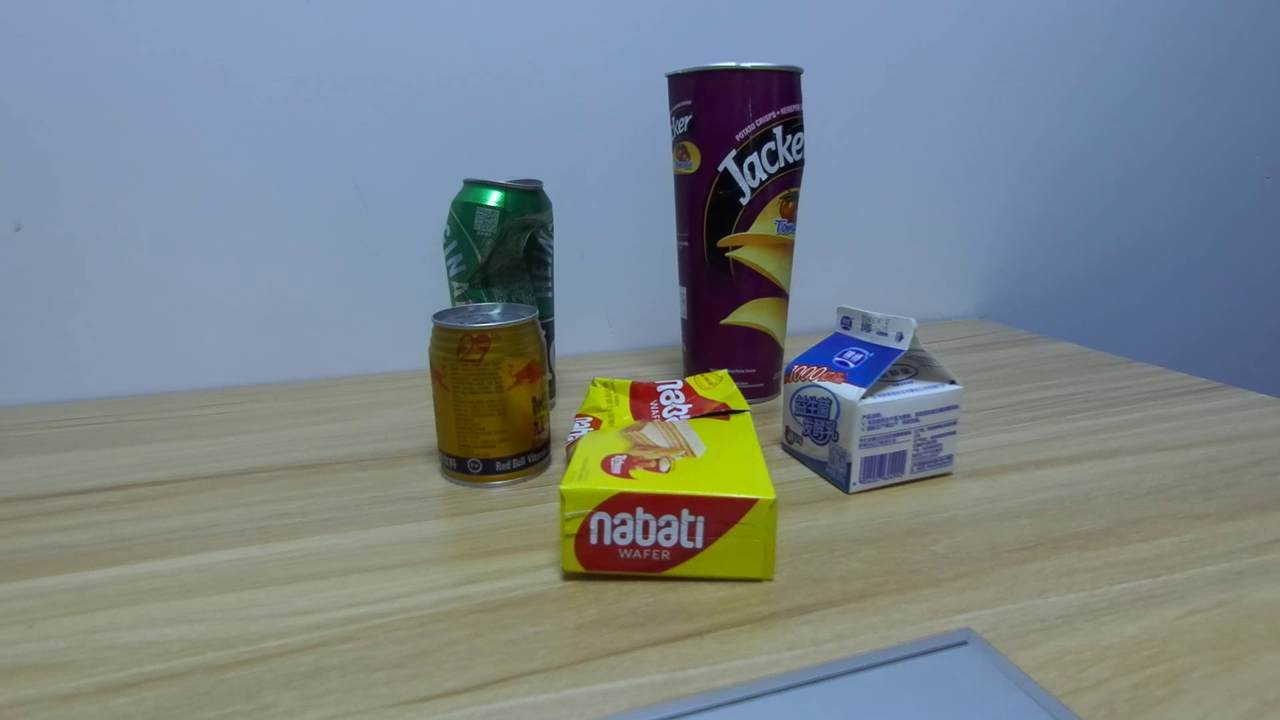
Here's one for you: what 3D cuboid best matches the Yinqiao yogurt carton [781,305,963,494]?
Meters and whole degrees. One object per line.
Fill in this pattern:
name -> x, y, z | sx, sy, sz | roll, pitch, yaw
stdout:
Yinqiao yogurt carton -> 0.131, 0.016, 0.406 | 0.074, 0.092, 0.075 | -7, 16, -20

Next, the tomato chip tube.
tomato chip tube -> 0.070, -0.089, 0.523 | 0.076, 0.235, 0.077 | -11, 17, -32

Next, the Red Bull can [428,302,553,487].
Red Bull can -> -0.086, 0.018, 0.410 | 0.067, 0.093, 0.067 | 0, 17, 0

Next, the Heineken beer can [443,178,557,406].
Heineken beer can -> -0.096, -0.043, 0.496 | 0.078, 0.164, 0.066 | 0, 18, -13

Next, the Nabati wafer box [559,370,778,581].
Nabati wafer box -> 0.010, 0.049, 0.399 | 0.107, 0.042, 0.204 | 1, 15, 1
